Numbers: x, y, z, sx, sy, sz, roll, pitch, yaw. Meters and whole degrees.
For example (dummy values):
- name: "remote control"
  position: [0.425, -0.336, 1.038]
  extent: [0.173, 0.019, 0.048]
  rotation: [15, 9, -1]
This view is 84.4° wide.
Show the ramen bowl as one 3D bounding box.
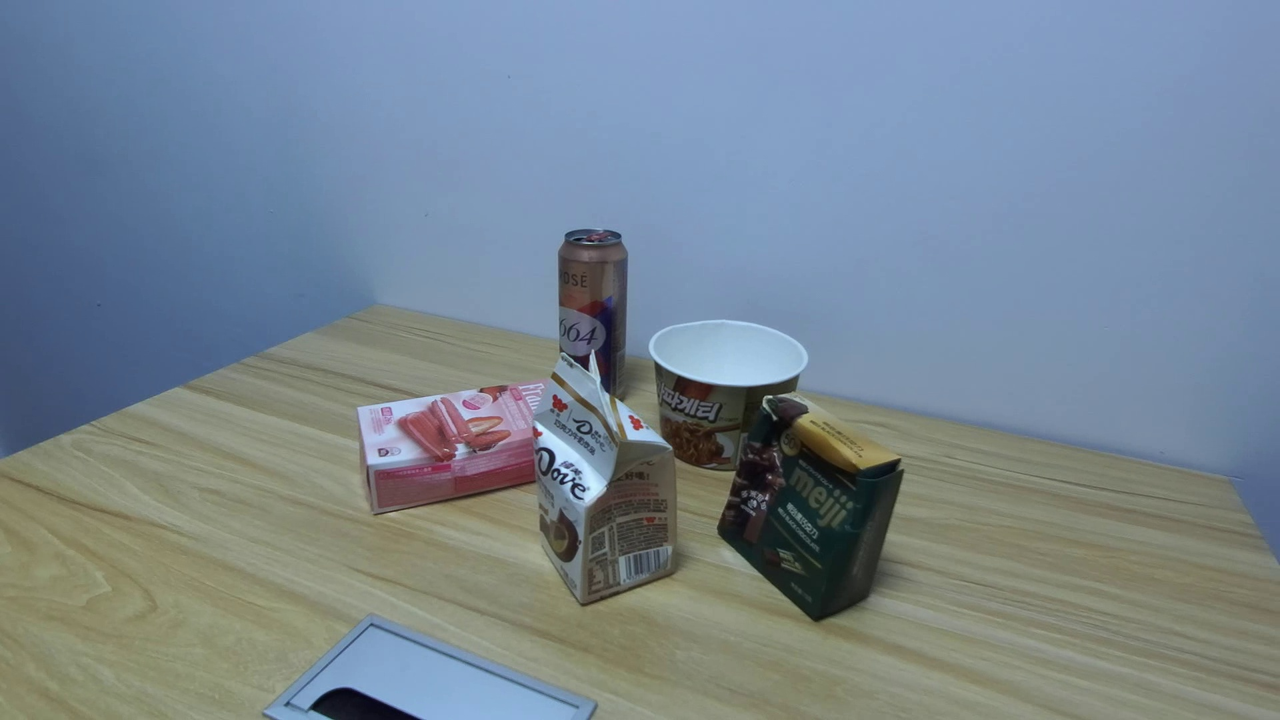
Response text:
- name: "ramen bowl"
  position: [0.075, 0.031, 0.637]
  extent: [0.140, 0.095, 0.140]
  rotation: [3, 25, -1]

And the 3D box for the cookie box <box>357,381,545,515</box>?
- name: "cookie box"
  position: [-0.138, 0.069, 0.600]
  extent: [0.188, 0.049, 0.104]
  rotation: [-8, 26, -22]

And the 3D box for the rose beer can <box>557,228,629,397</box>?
- name: "rose beer can"
  position: [-0.047, -0.036, 0.697]
  extent: [0.068, 0.169, 0.068]
  rotation: [3, 18, -1]

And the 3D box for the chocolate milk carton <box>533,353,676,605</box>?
- name: "chocolate milk carton"
  position: [-0.023, 0.072, 0.467]
  extent: [0.074, 0.155, 0.076]
  rotation: [-13, 29, -25]

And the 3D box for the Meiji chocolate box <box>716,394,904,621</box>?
- name: "Meiji chocolate box"
  position: [0.115, 0.094, 0.481]
  extent: [0.052, 0.117, 0.116]
  rotation: [-5, 25, -32]
